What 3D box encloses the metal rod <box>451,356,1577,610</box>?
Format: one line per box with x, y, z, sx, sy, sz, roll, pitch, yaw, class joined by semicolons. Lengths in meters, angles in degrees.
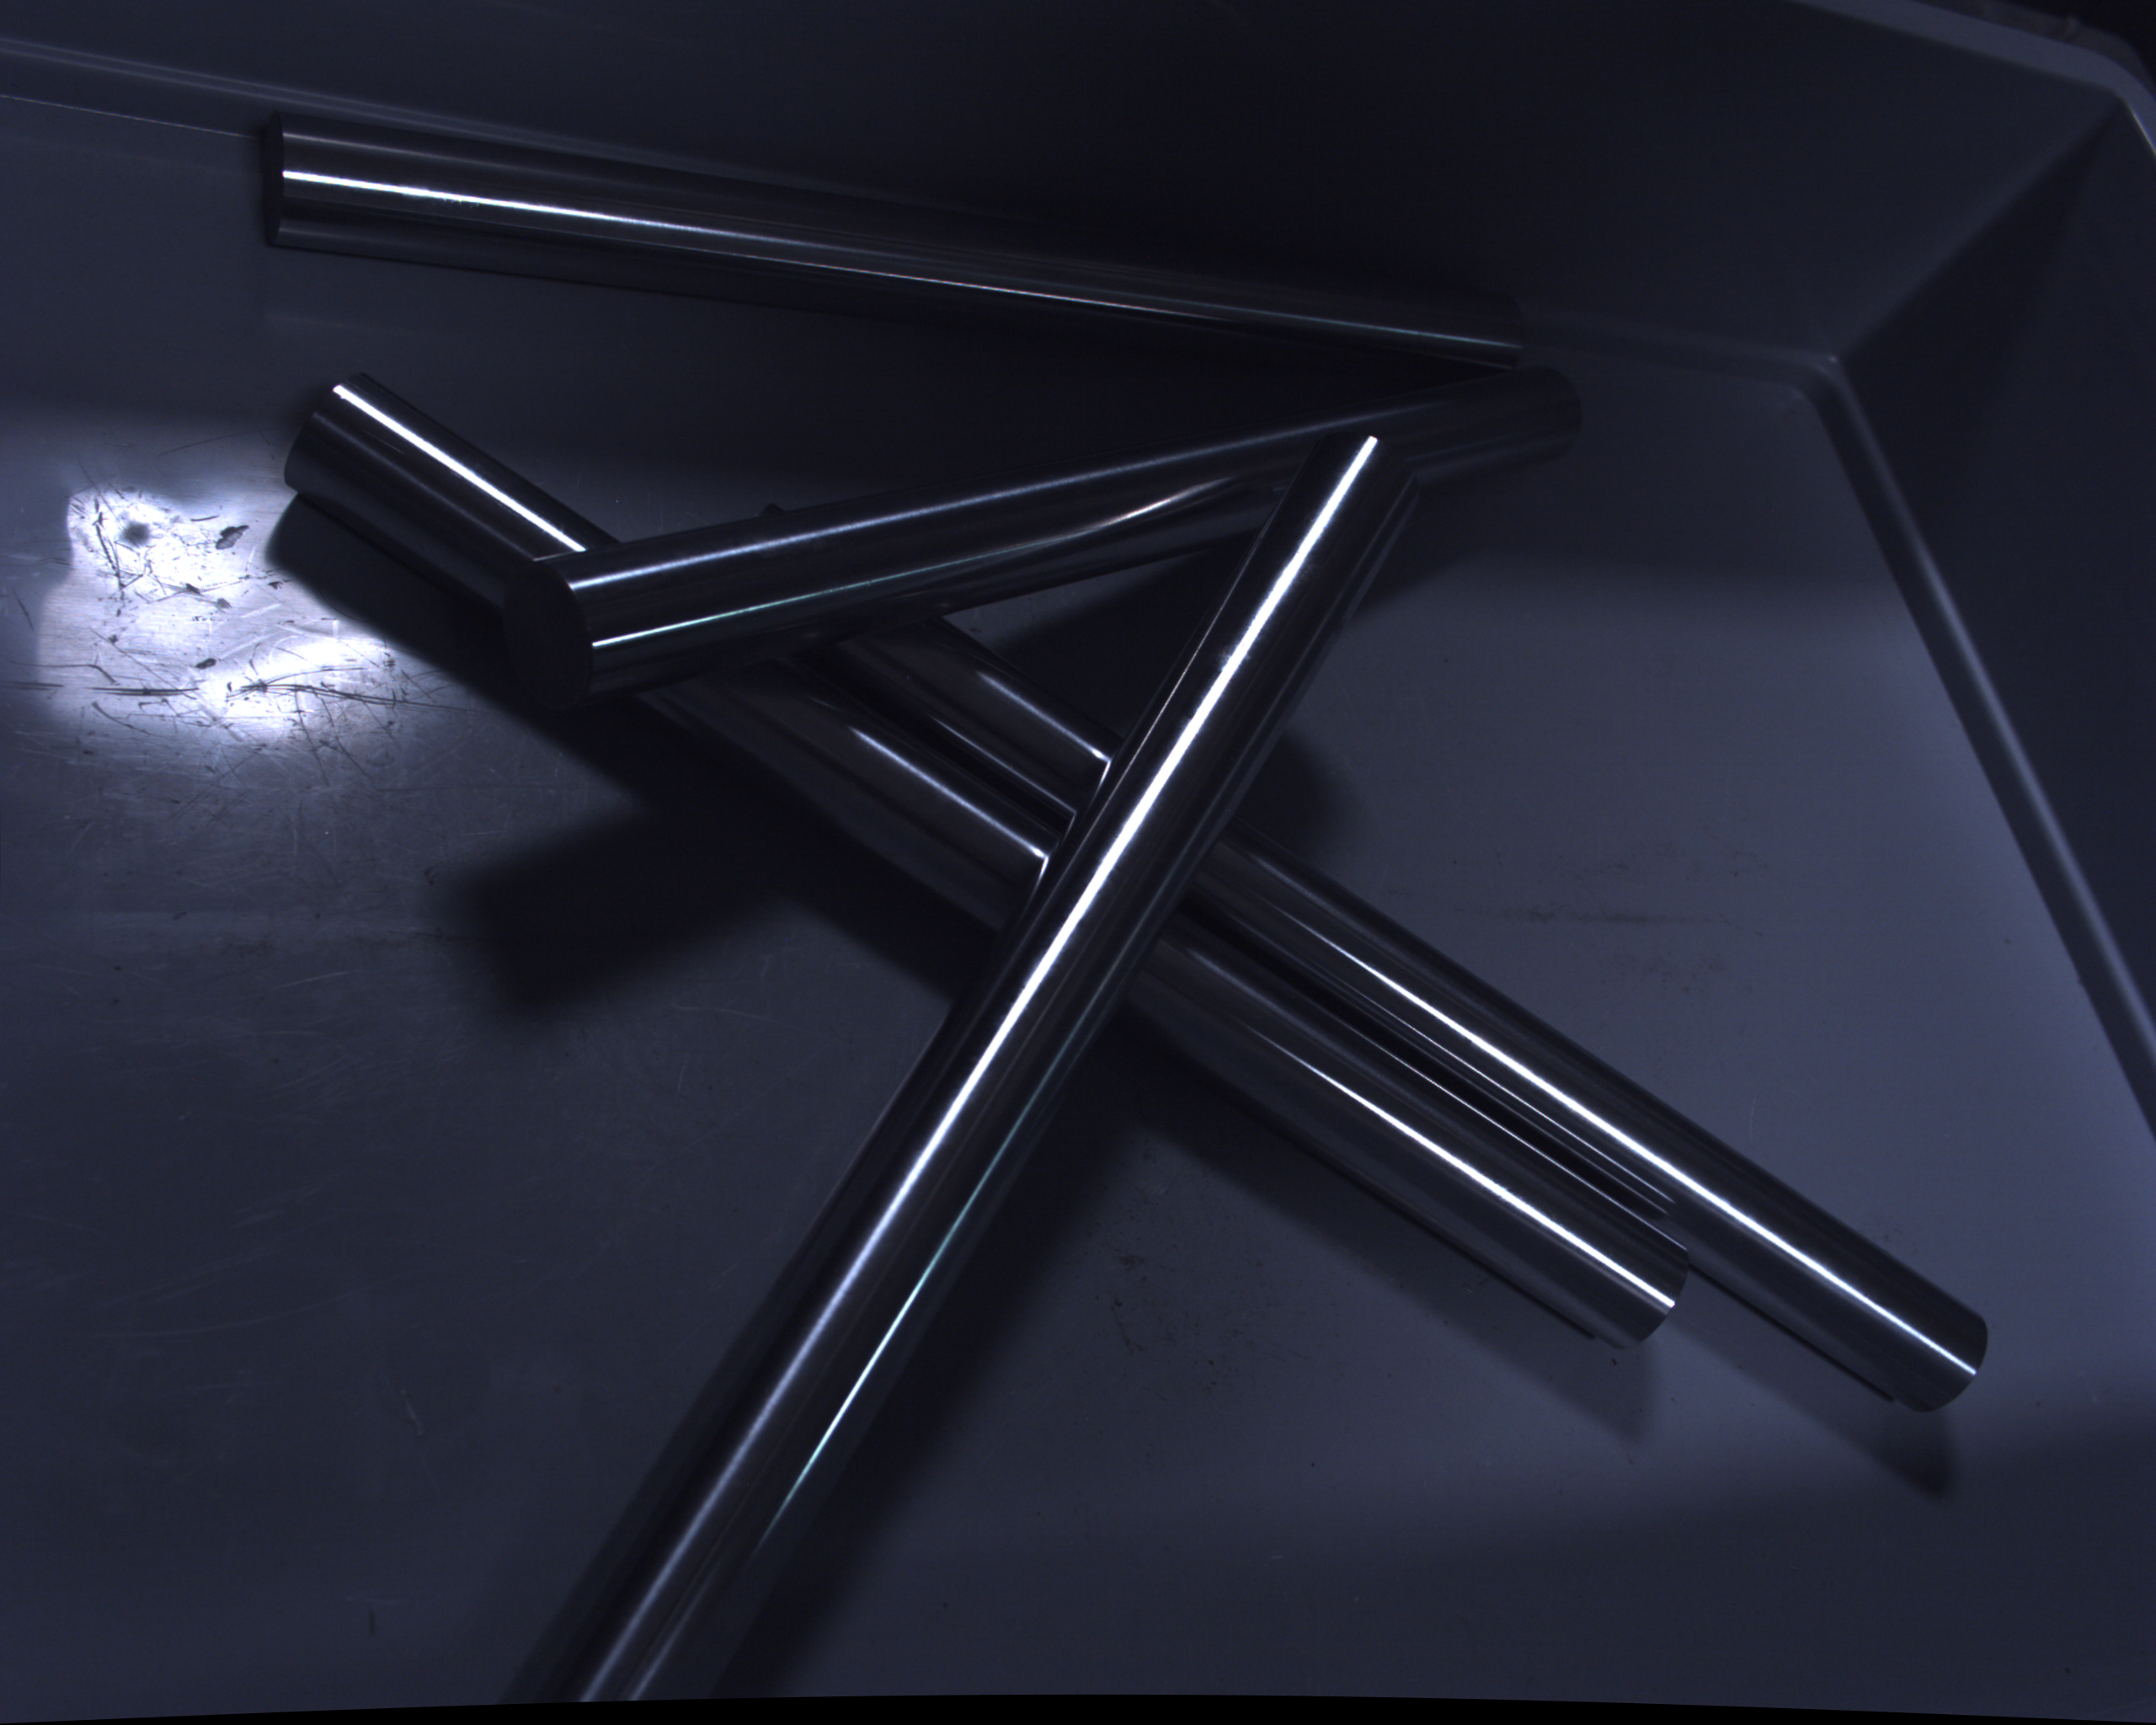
0.011;-0.087;0.446;0.302;0.025;0.025;-17;71;-41;metal rod

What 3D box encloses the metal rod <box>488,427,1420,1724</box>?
-0.009;0.028;0.358;0.025;0.025;0.301;36;59;-5;metal rod

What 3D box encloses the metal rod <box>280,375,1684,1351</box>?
-0.013;0.004;0.397;0.301;0.025;0.025;33;51;-7;metal rod

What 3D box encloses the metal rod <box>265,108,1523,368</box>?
-0.023;-0.135;0.476;0.303;0.025;0.025;-1;62;-29;metal rod

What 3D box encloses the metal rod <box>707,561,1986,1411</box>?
0.058;0.023;0.424;0.301;0.025;0.025;33;51;-7;metal rod
